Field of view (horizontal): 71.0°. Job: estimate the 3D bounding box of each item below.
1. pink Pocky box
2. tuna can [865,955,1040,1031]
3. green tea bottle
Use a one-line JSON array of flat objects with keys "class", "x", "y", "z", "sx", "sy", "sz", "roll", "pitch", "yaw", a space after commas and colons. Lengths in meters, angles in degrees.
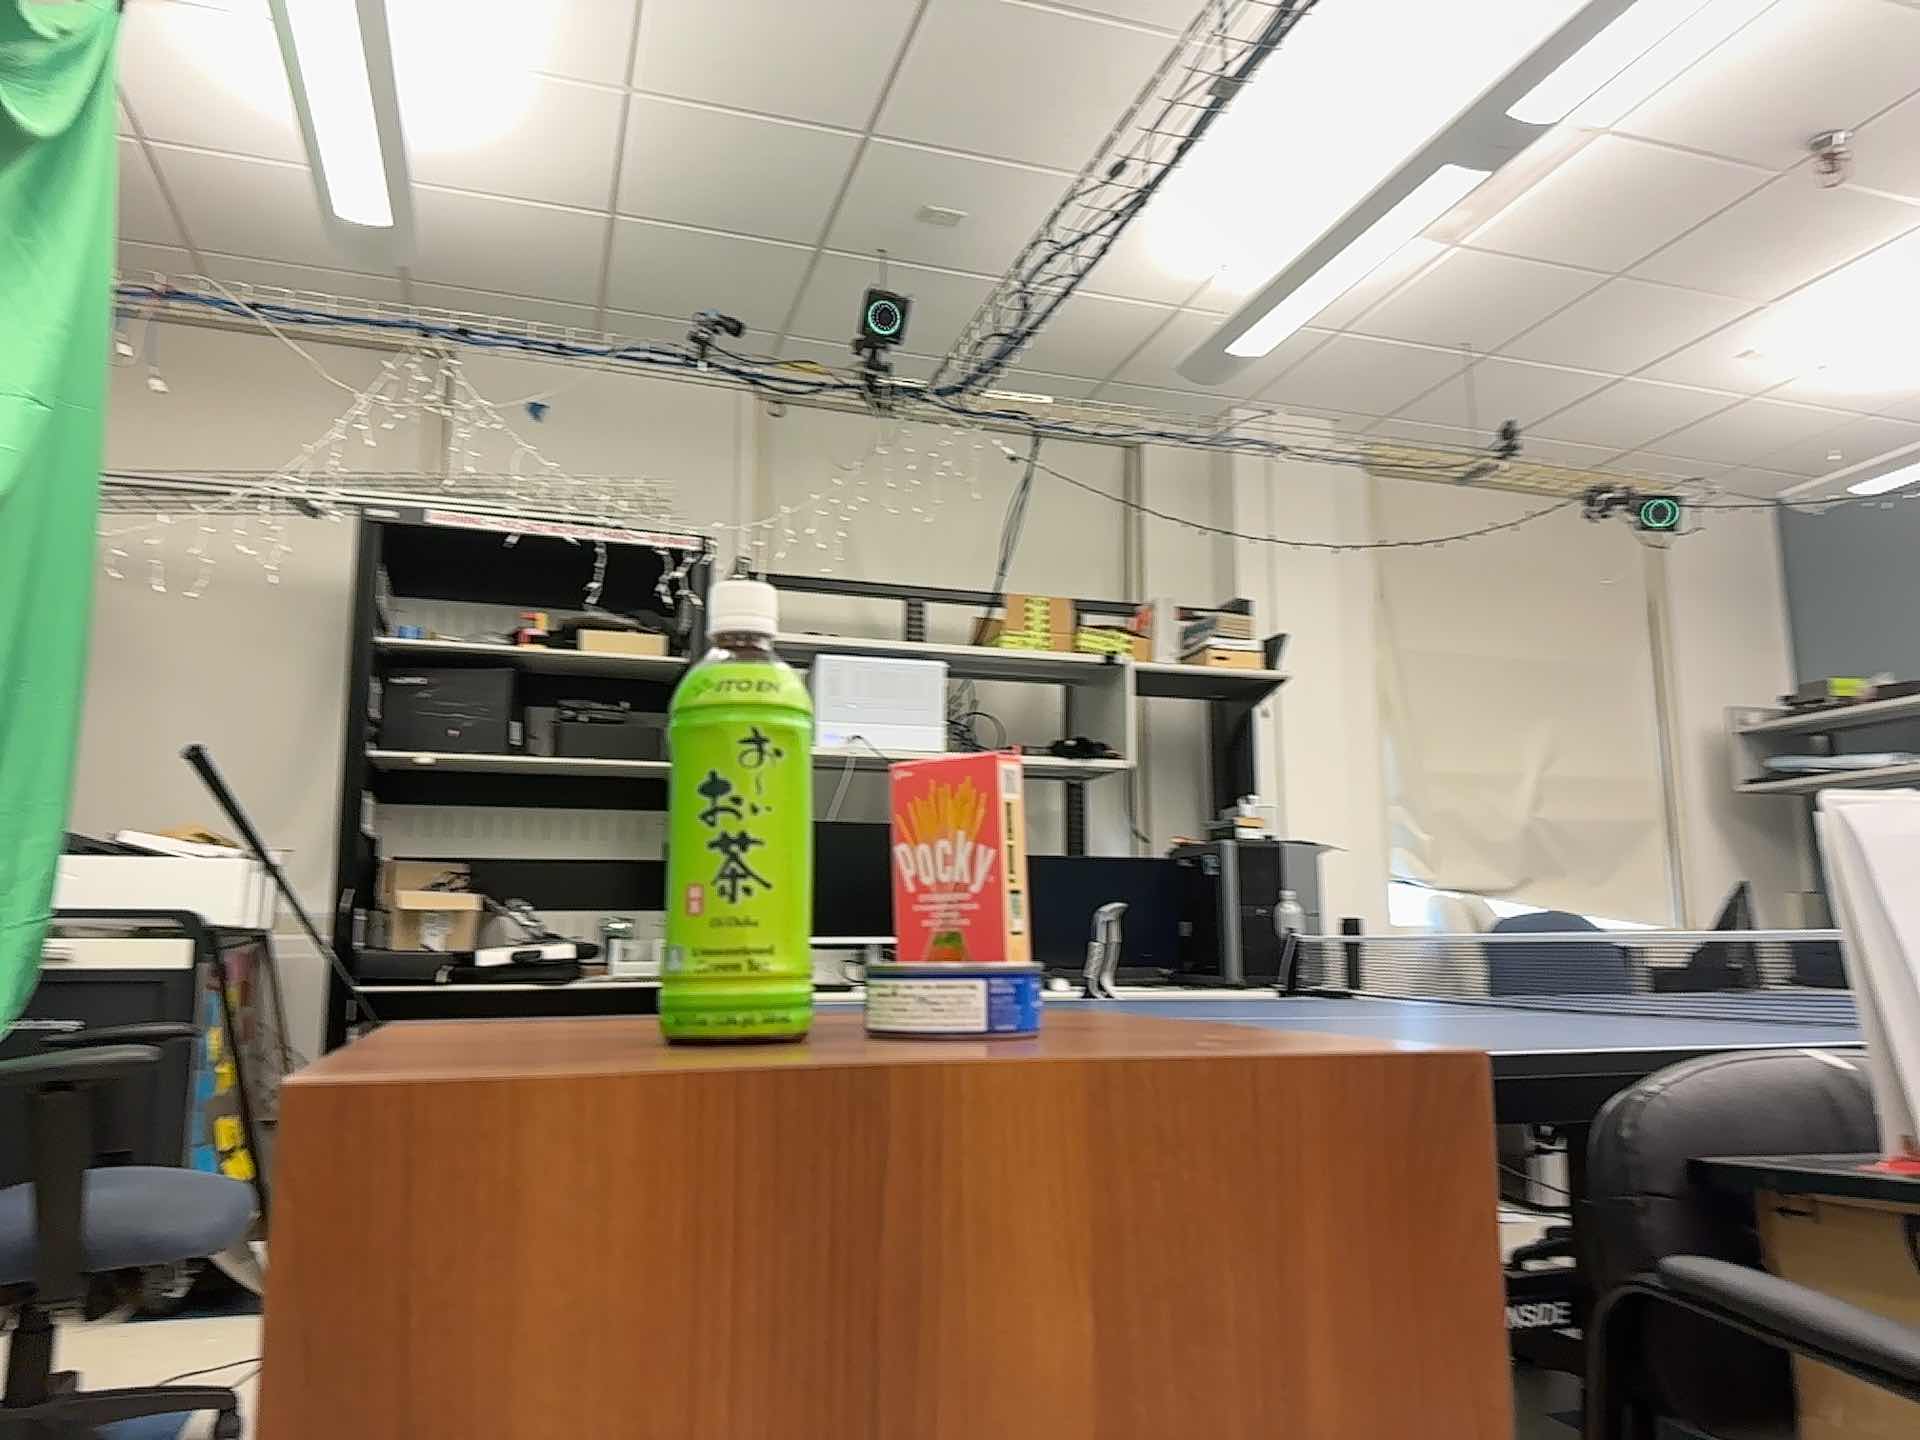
[{"class": "pink Pocky box", "x": -0.006, "y": 0.095, "z": 0.778, "sx": 0.084, "sy": 0.155, "sz": 0.029, "roll": -7, "pitch": -9, "yaw": 37}, {"class": "tuna can", "x": -0.004, "y": 0.131, "z": 0.652, "sx": 0.083, "sy": 0.034, "sz": 0.083, "roll": -1, "pitch": -11, "yaw": 0}, {"class": "green tea bottle", "x": -0.102, "y": 0.041, "z": 0.627, "sx": 0.073, "sy": 0.212, "sz": 0.073, "roll": -2, "pitch": -10, "yaw": 0}]
